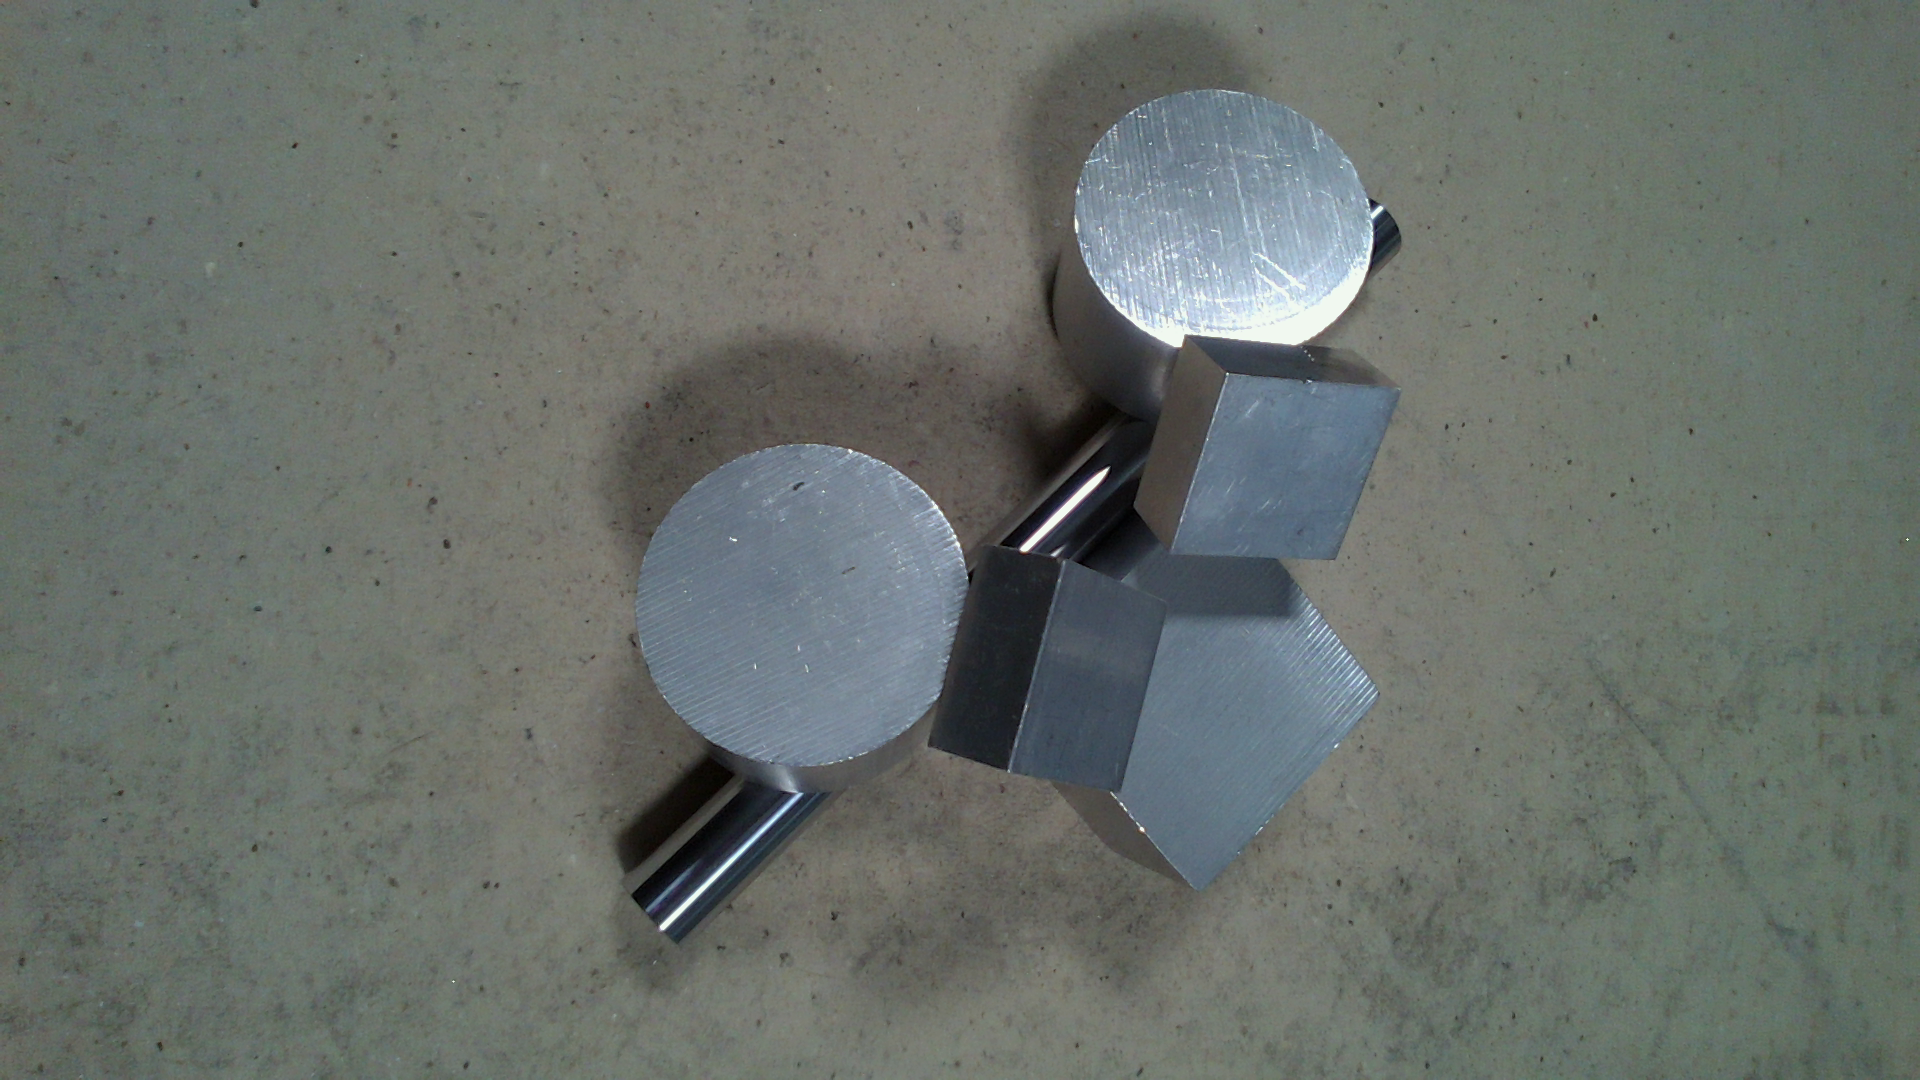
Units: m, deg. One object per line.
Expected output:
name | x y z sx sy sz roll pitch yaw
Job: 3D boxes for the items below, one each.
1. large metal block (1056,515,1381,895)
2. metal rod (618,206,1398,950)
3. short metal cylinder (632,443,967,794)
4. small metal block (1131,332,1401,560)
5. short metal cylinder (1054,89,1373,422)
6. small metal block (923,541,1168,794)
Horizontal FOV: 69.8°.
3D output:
large metal block | 0.060 0.041 0.400 0.080 0.050 0.080 -43 104 -15
metal rod | 0.024 0.000 0.402 0.300 0.025 0.025 -43 104 -15
short metal cylinder | -0.039 0.022 0.351 0.080 0.050 0.080 1 72 -3
small metal block | 0.078 -0.023 0.356 0.050 0.025 0.050 2 120 -20
short metal cylinder | 0.069 -0.078 0.390 0.080 0.050 0.080 1 72 -3
small metal block | 0.022 0.032 0.336 0.050 0.025 0.050 22 82 -51
